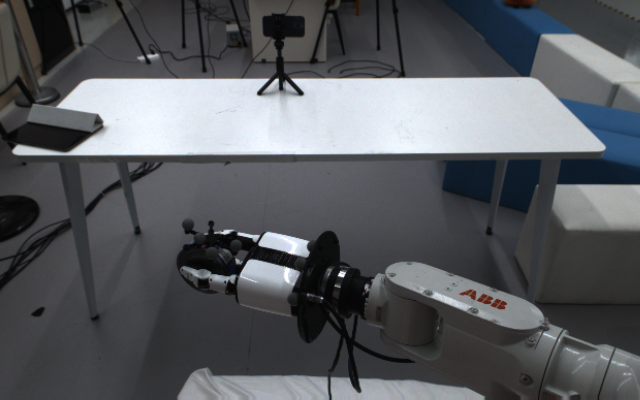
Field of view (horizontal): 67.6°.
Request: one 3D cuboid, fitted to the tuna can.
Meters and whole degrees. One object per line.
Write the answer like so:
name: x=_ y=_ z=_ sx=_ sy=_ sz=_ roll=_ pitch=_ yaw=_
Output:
tuna can: x=-0.170 y=0.100 z=0.737 sx=0.085 sy=0.085 sz=0.034 roll=13 pitch=30 yaw=15
